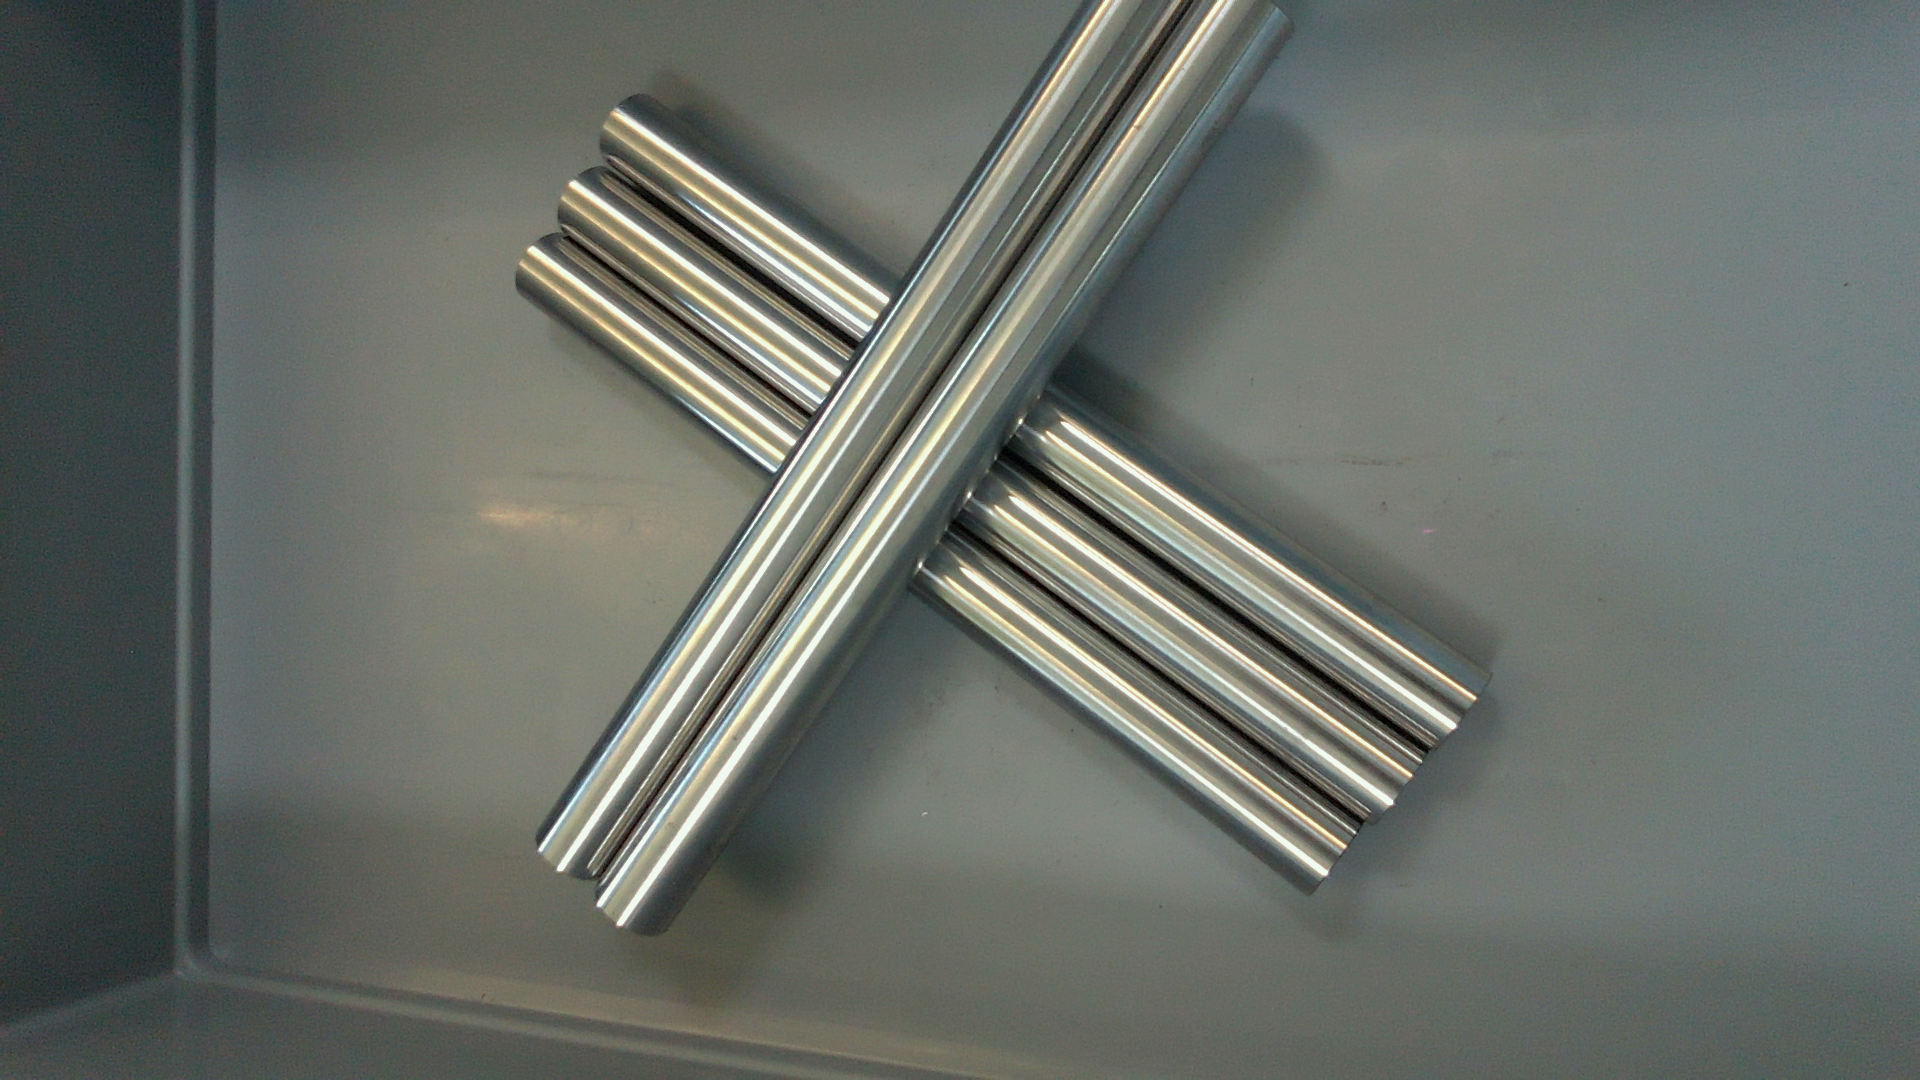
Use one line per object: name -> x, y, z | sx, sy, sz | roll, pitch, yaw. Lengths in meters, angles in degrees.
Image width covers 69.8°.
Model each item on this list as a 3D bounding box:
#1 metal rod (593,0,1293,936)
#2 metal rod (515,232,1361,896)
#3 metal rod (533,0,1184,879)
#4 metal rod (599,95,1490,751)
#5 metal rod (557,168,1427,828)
metal rod -> -0.012, -0.013, 0.372 | 0.025, 0.025, 0.300 | 38, 102, 16
metal rod -> -0.018, -0.003, 0.401 | 0.299, 0.025, 0.025 | 36, 102, 16
metal rod -> -0.031, -0.028, 0.379 | 0.025, 0.025, 0.300 | 38, 102, 16
metal rod -> 0.012, -0.042, 0.390 | 0.299, 0.025, 0.025 | 37, 102, 16
metal rod -> -0.003, -0.021, 0.396 | 0.299, 0.025, 0.025 | 36, 102, 16
